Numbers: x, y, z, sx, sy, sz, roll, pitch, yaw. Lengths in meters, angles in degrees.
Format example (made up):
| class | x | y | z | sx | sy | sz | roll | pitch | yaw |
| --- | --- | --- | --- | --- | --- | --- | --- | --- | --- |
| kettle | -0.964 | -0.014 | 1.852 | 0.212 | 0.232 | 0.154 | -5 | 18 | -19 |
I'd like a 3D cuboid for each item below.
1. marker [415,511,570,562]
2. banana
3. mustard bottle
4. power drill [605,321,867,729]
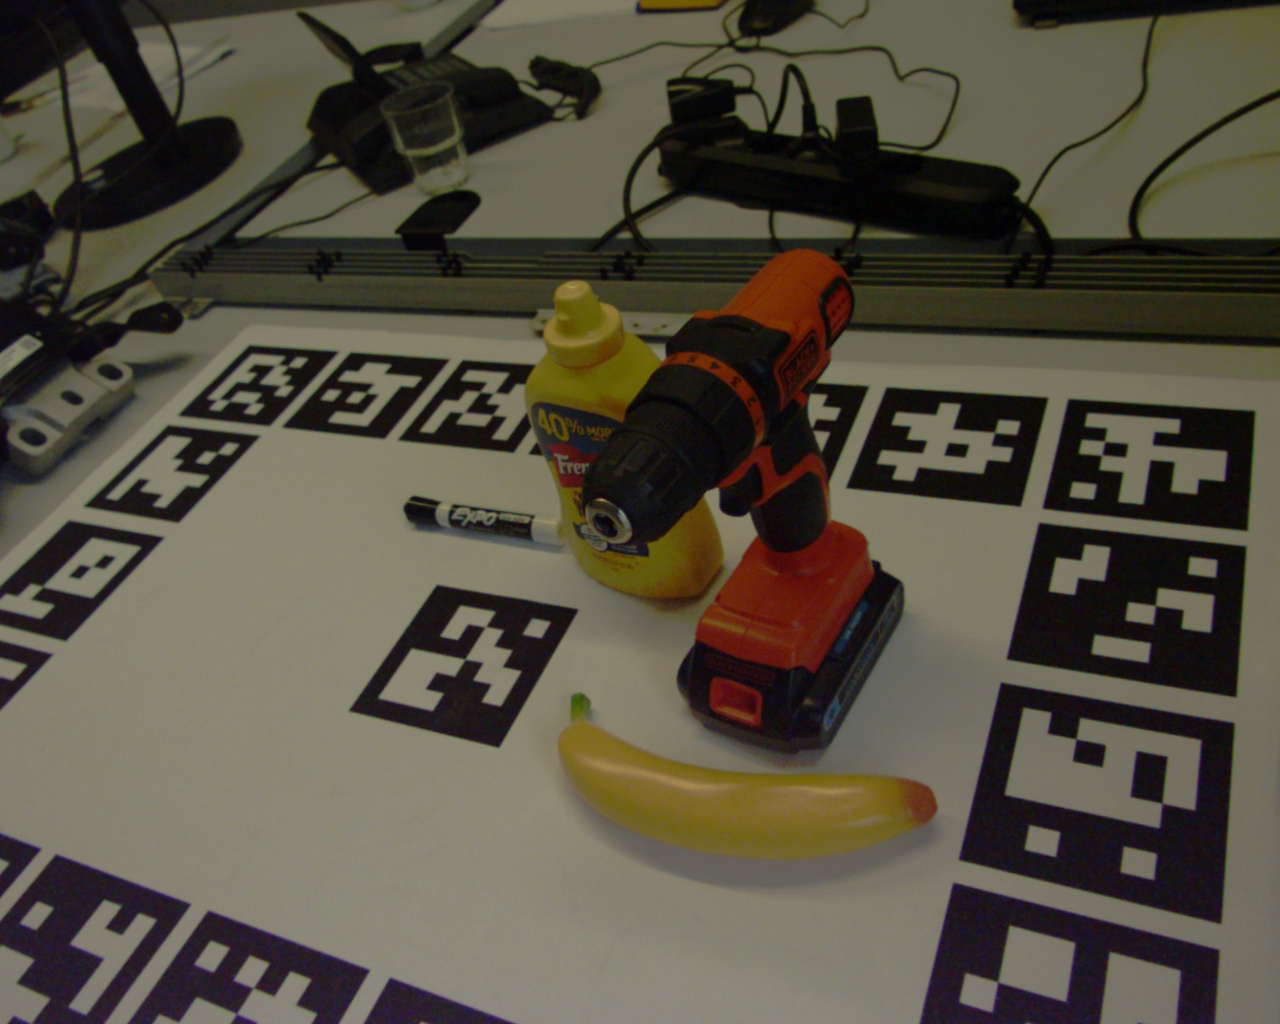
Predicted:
| class | x | y | z | sx | sy | sz | roll | pitch | yaw |
| --- | --- | --- | --- | --- | --- | --- | --- | --- | --- |
| marker | -0.105 | 0.016 | 0.786 | 0.122 | 0.019 | 0.019 | 9 | 49 | 27 |
| banana | 0.036 | 0.148 | 0.586 | 0.200 | 0.038 | 0.074 | 13 | 51 | 32 |
| mustard bottle | -0.012 | -0.025 | 0.669 | 0.097 | 0.190 | 0.058 | 17 | 52 | 31 |
| power drill | 0.057 | 0.020 | 0.573 | 0.058 | 0.186 | 0.183 | 20 | 51 | 32 |
